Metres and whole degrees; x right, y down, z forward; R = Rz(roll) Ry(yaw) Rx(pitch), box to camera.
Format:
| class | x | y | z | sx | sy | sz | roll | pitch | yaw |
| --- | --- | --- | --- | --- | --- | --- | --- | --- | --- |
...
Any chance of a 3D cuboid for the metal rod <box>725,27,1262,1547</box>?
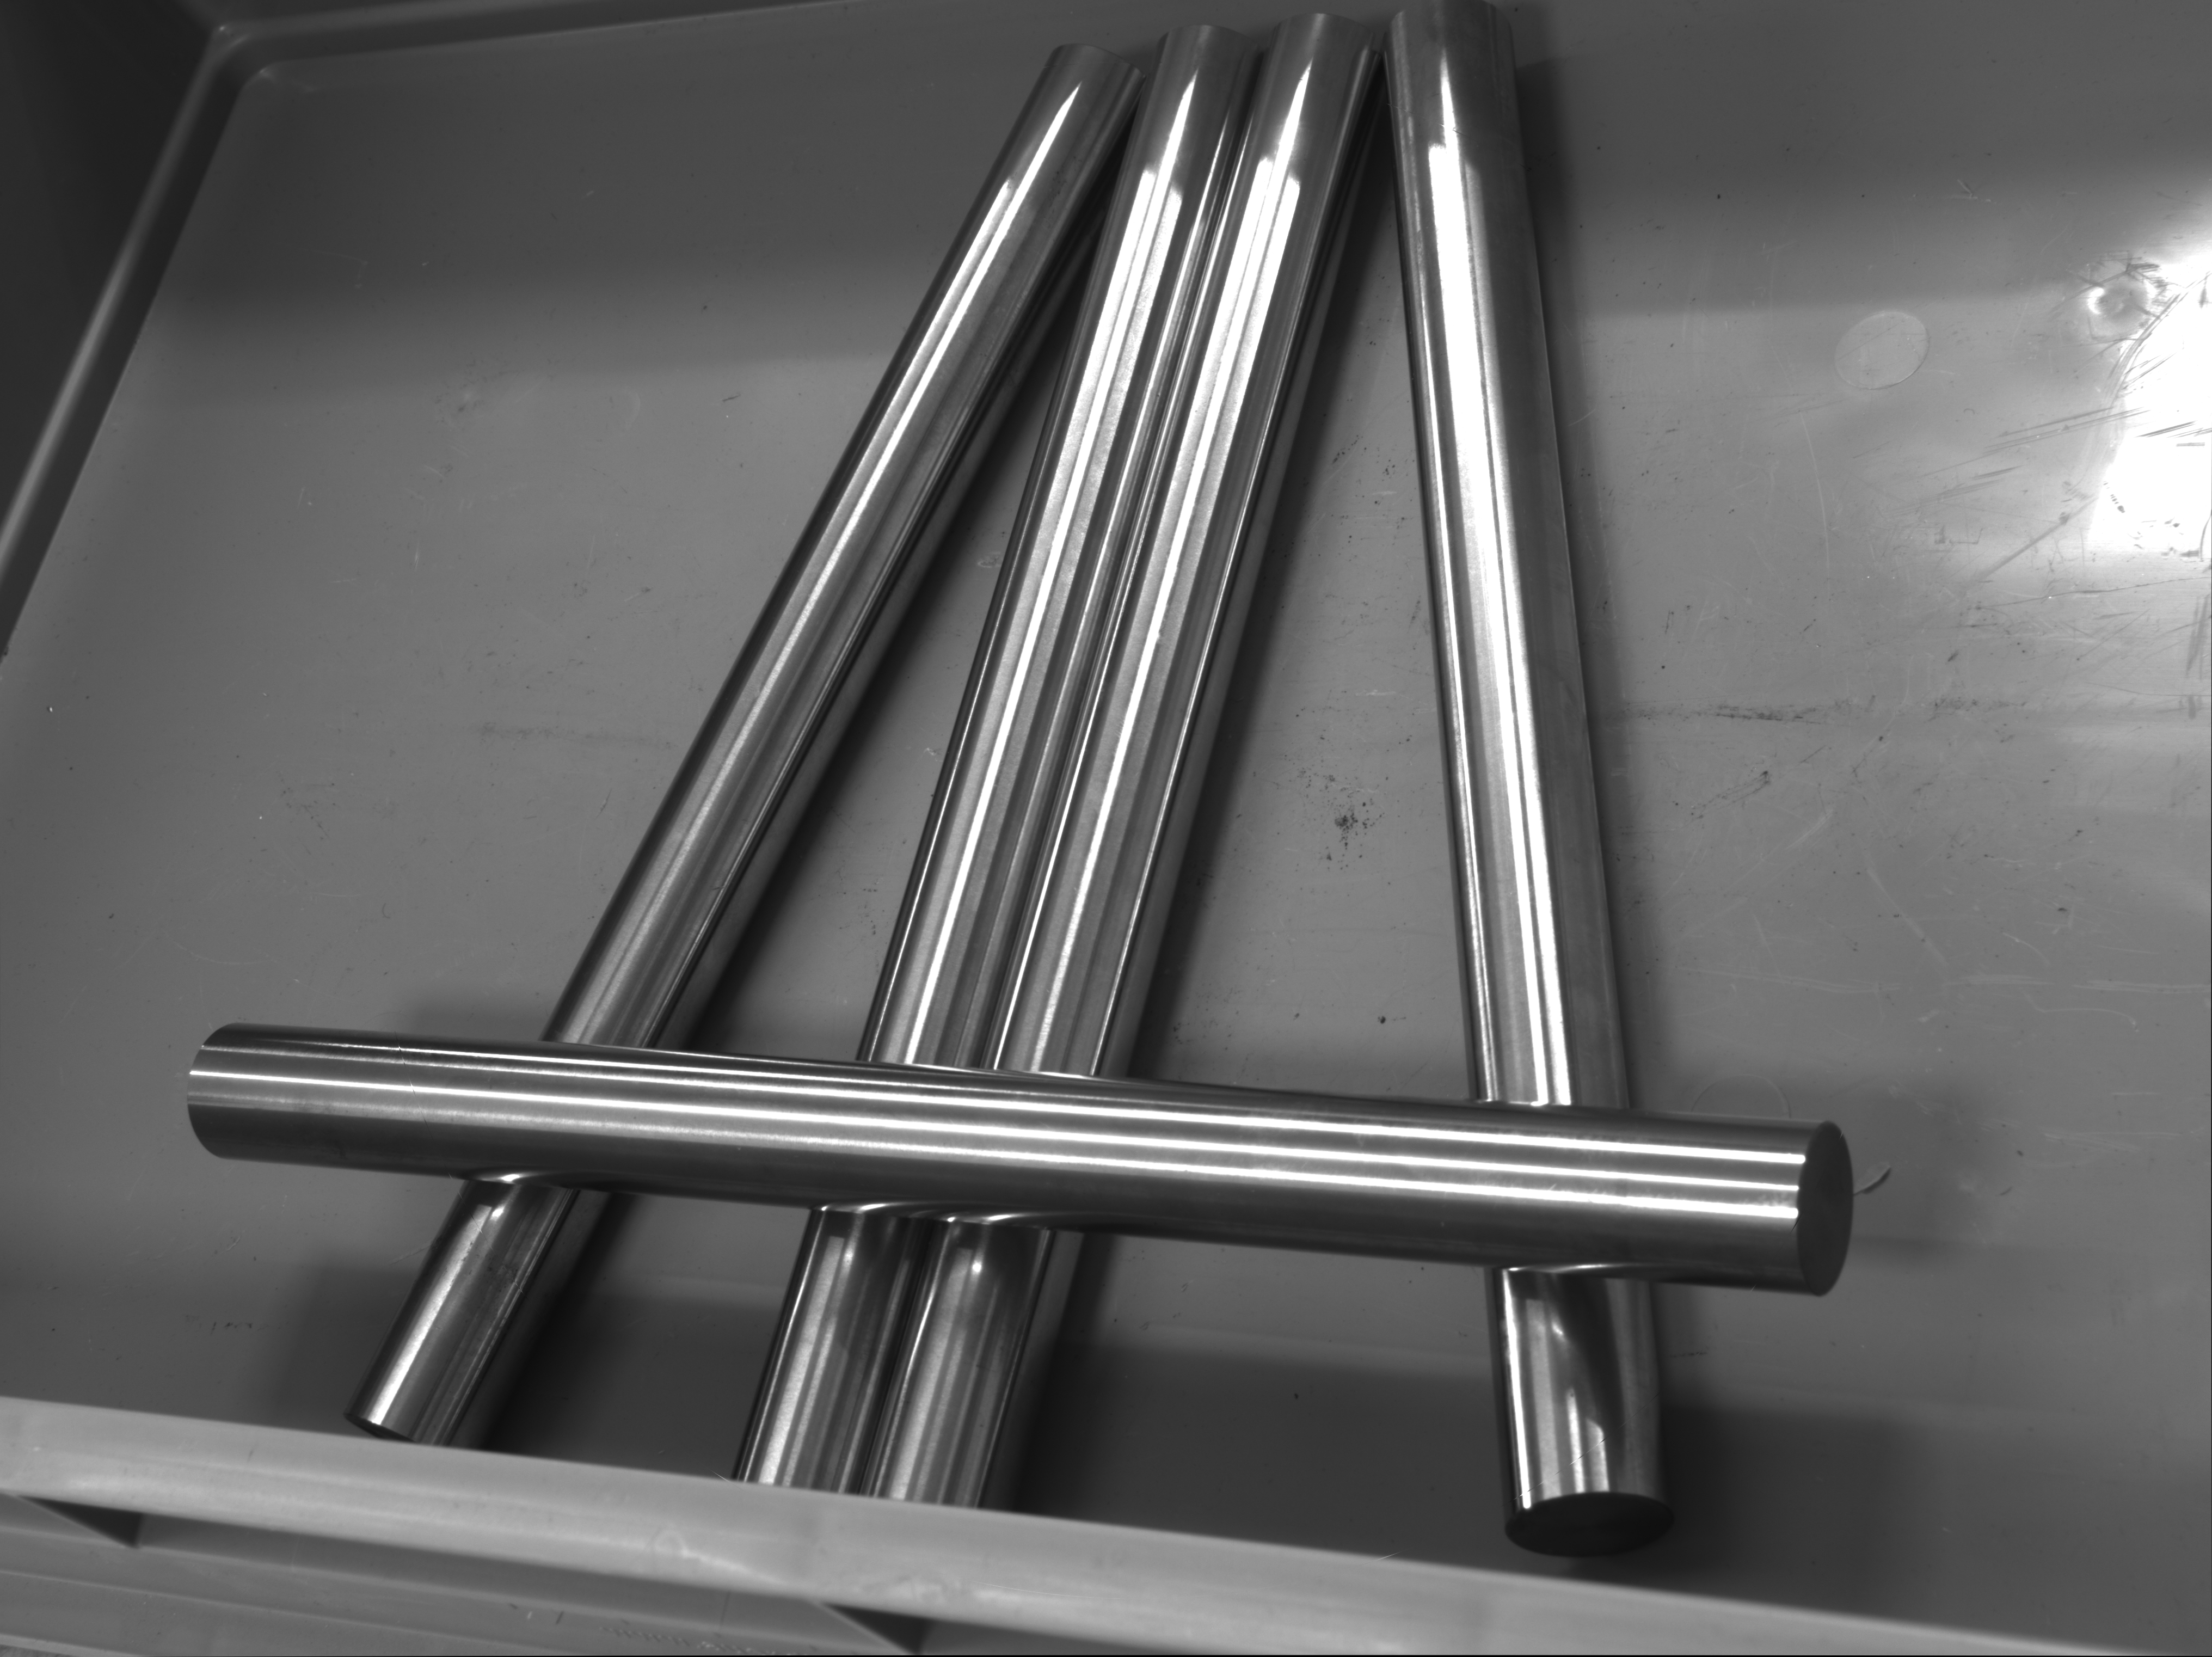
| class | x | y | z | sx | sy | sz | roll | pitch | yaw |
| --- | --- | --- | --- | --- | --- | --- | --- | --- | --- |
| metal rod | -0.014 | -0.018 | 0.663 | 0.025 | 0.025 | 0.300 | 1 | 62 | 29 |

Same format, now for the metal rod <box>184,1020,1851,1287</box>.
| class | x | y | z | sx | sy | sz | roll | pitch | yaw |
| --- | --- | --- | --- | --- | --- | --- | --- | --- | --- |
| metal rod | -0.028 | 0.050 | 0.594 | 0.299 | 0.025 | 0.025 | 1 | 62 | 29 |

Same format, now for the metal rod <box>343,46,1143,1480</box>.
| class | x | y | z | sx | sy | sz | roll | pitch | yaw |
| --- | --- | --- | --- | --- | --- | --- | --- | --- | --- |
| metal rod | -0.062 | -0.020 | 0.690 | 0.025 | 0.025 | 0.300 | 13 | 68 | 34 |

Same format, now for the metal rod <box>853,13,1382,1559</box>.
| class | x | y | z | sx | sy | sz | roll | pitch | yaw |
| --- | --- | --- | --- | --- | --- | --- | --- | --- | --- |
| metal rod | 0.007 | -0.019 | 0.651 | 0.025 | 0.025 | 0.300 | 1 | 62 | 29 |

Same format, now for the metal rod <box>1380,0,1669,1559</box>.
| class | x | y | z | sx | sy | sz | roll | pitch | yaw |
| --- | --- | --- | --- | --- | --- | --- | --- | --- | --- |
| metal rod | 0.068 | -0.024 | 0.622 | 0.025 | 0.025 | 0.300 | -15 | 55 | 20 |
